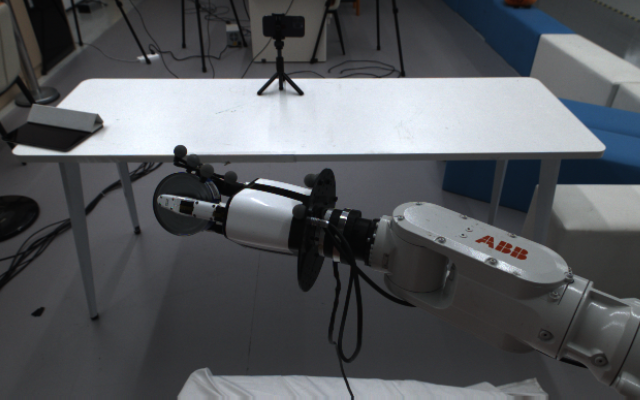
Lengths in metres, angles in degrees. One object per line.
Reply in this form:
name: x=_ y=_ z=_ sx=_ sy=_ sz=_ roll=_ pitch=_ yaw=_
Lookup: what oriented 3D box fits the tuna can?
tuna can: x=-0.177 y=0.006 z=0.653 sx=0.085 sy=0.085 sz=0.034 roll=10 pitch=4 yaw=11
